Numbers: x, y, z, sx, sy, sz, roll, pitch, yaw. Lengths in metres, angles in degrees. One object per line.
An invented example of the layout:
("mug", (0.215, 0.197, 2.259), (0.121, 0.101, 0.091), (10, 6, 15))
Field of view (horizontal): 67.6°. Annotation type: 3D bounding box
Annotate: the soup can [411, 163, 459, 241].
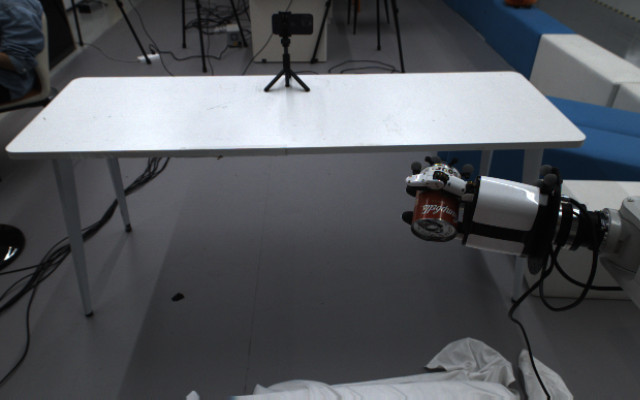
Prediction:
("soup can", (0.179, 0.002, 0.736), (0.067, 0.067, 0.101), (9, 58, 10))
